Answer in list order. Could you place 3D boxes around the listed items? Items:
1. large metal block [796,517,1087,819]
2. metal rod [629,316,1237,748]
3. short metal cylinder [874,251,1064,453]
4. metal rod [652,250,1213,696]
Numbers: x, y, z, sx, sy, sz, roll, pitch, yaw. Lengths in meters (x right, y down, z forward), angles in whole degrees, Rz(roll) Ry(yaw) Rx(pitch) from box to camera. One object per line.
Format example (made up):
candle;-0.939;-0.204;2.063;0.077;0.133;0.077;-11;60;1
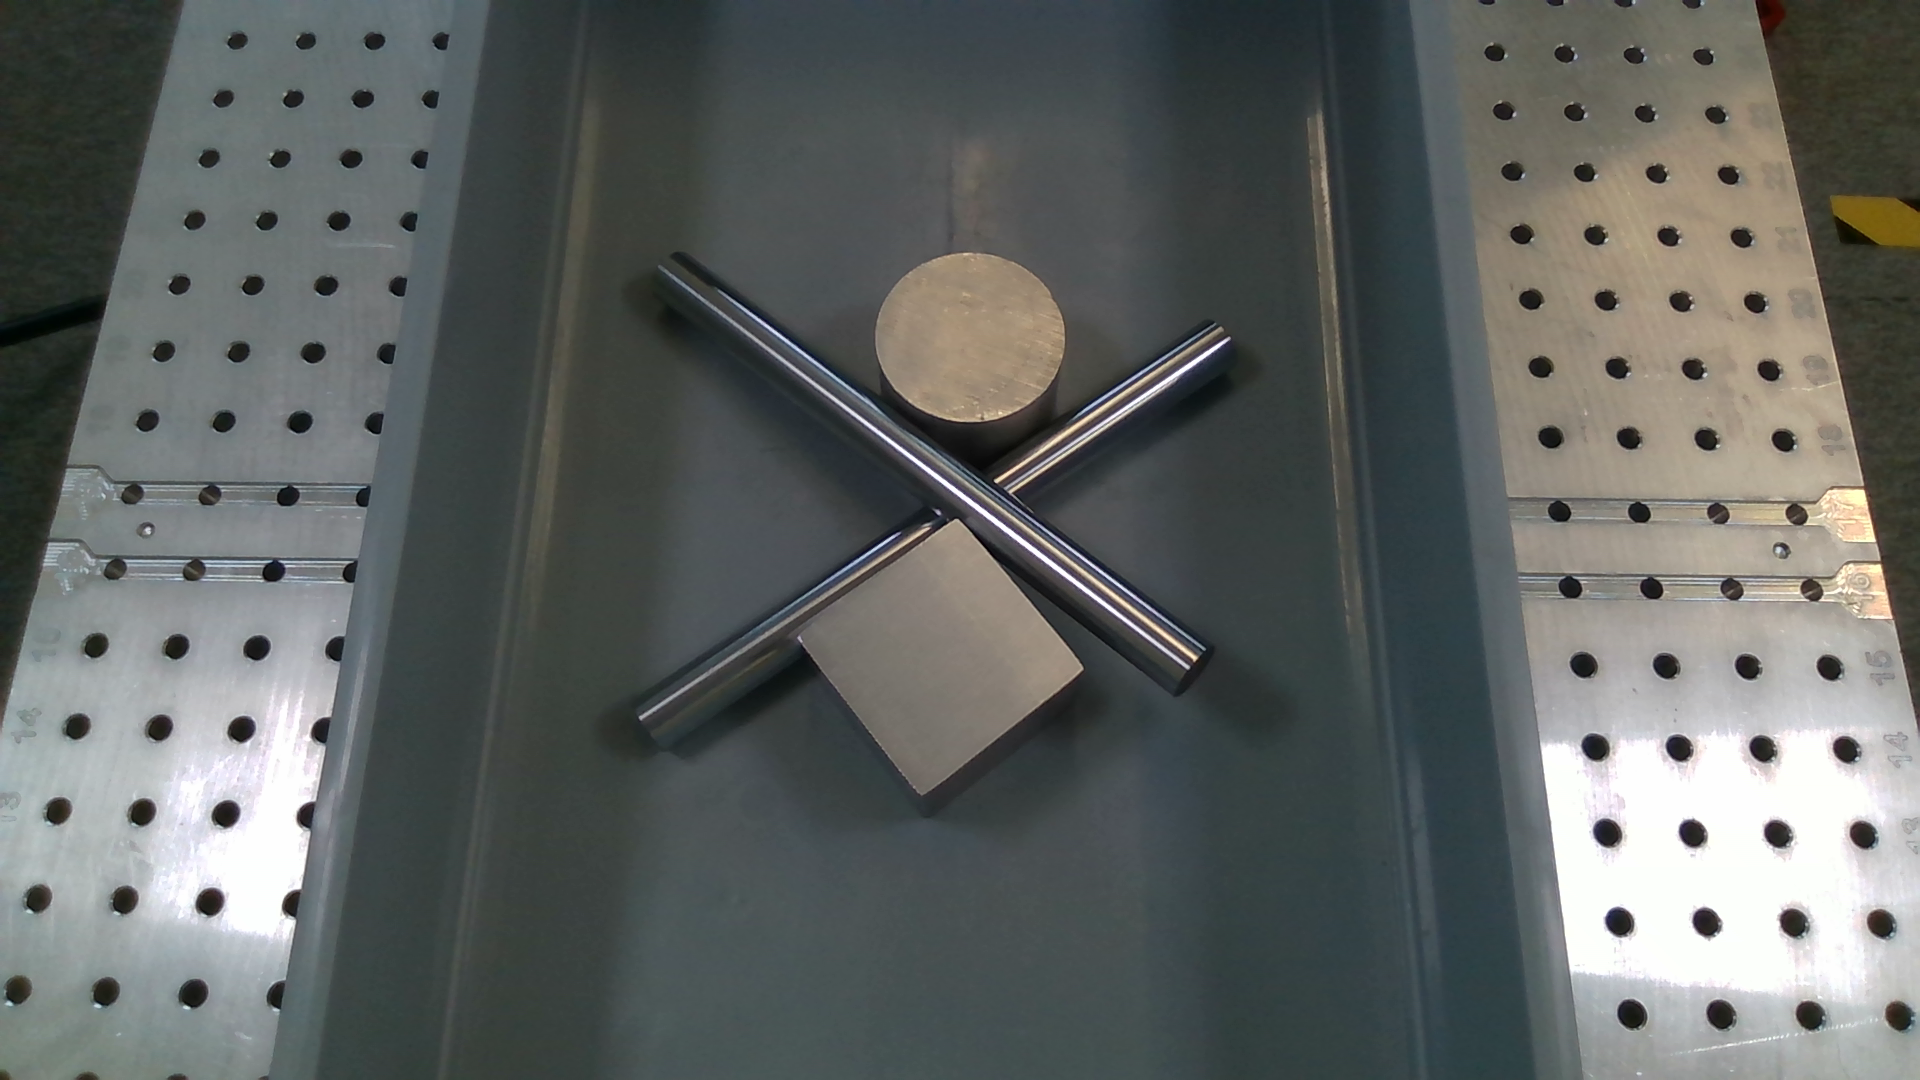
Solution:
large metal block;-0.007;0.052;0.554;0.080;0.050;0.080;-37;74;-12
metal rod;-0.006;-0.007;0.589;0.300;0.025;0.025;-34;74;-11
short metal cylinder;0.004;-0.078;0.602;0.080;0.050;0.080;0;70;0
metal rod;-0.021;-0.036;0.578;0.300;0.025;0.025;38;74;21
